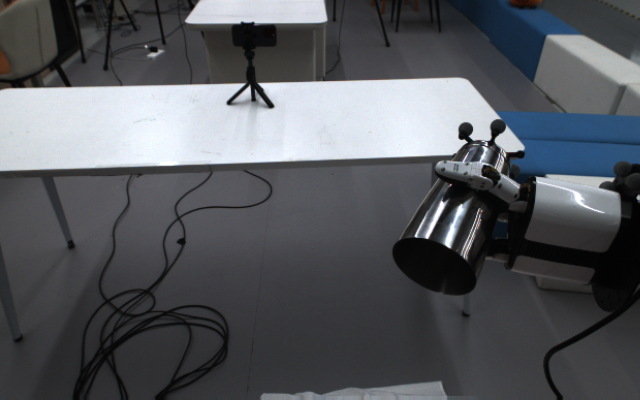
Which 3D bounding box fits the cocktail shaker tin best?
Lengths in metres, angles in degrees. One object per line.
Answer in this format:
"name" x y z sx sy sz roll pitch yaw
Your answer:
"cocktail shaker tin" 0.162 0.007 0.543 0.093 0.093 0.170 19 54 22
